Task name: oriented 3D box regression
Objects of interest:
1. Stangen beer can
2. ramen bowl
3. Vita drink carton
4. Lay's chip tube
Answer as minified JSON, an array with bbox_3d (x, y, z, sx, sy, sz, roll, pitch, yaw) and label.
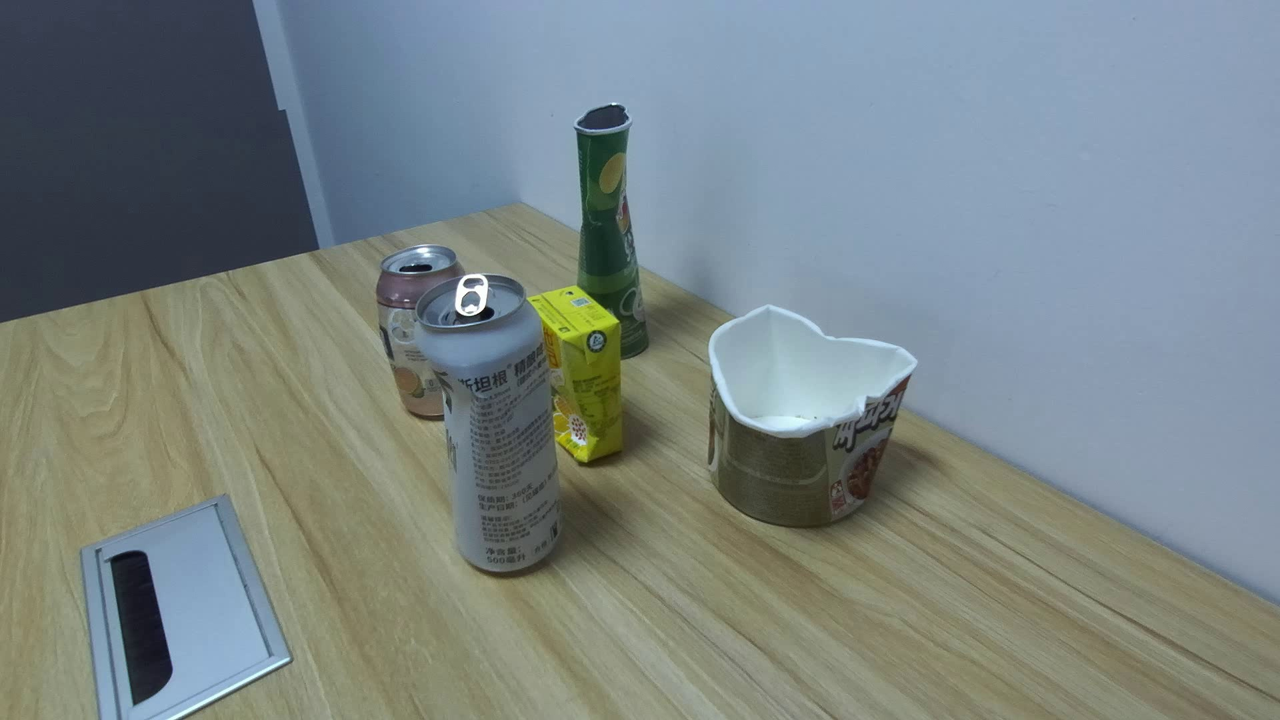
[{"bbox_3d":[-0.084,0.040,0.396,0.069,0.173,0.070,6,32,13],"label":"Stangen beer can"},{"bbox_3d":[0.097,0.041,0.456,0.113,0.097,0.134,23,38,30],"label":"ramen bowl"},{"bbox_3d":[-0.044,0.013,0.494,0.043,0.109,0.076,-18,36,-26],"label":"Vita drink carton"},{"bbox_3d":[-0.027,-0.102,0.594,0.069,0.200,0.074,-19,36,-26],"label":"Lay's chip tube"}]
